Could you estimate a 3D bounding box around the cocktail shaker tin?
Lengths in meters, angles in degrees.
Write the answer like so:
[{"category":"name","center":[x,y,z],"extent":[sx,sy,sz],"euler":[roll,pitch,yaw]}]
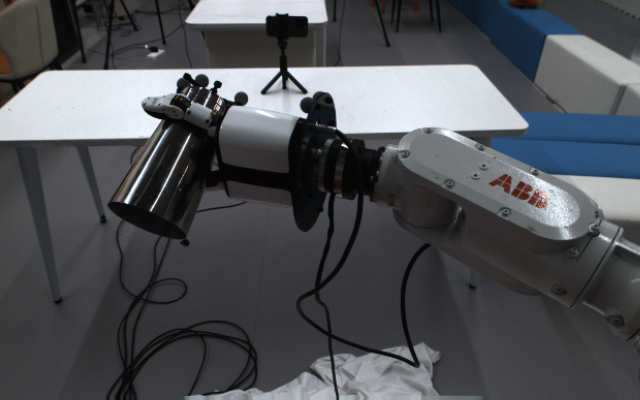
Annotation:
[{"category":"cocktail shaker tin","center":[-0.166,-0.052,0.576],"extent":[0.093,0.093,0.170],"euler":[12,65,14]}]
